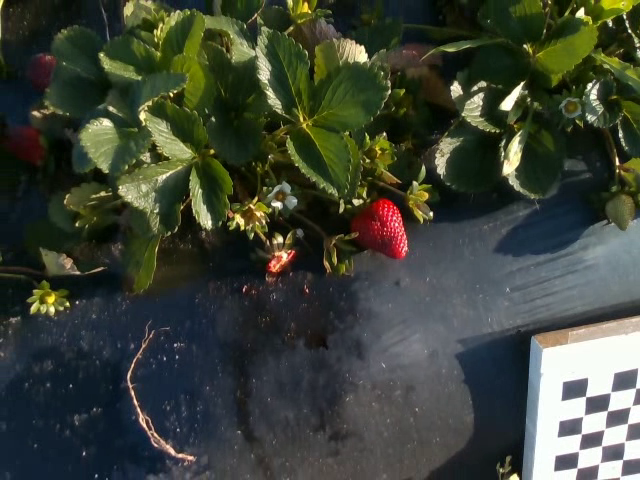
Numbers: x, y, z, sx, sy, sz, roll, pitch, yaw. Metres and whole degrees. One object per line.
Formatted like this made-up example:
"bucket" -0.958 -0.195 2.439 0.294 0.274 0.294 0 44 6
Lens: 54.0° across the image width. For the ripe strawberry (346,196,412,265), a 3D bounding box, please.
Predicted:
"ripe strawberry" 0.052 -0.004 0.503 0.052 0.052 0.041 -37 -32 10
